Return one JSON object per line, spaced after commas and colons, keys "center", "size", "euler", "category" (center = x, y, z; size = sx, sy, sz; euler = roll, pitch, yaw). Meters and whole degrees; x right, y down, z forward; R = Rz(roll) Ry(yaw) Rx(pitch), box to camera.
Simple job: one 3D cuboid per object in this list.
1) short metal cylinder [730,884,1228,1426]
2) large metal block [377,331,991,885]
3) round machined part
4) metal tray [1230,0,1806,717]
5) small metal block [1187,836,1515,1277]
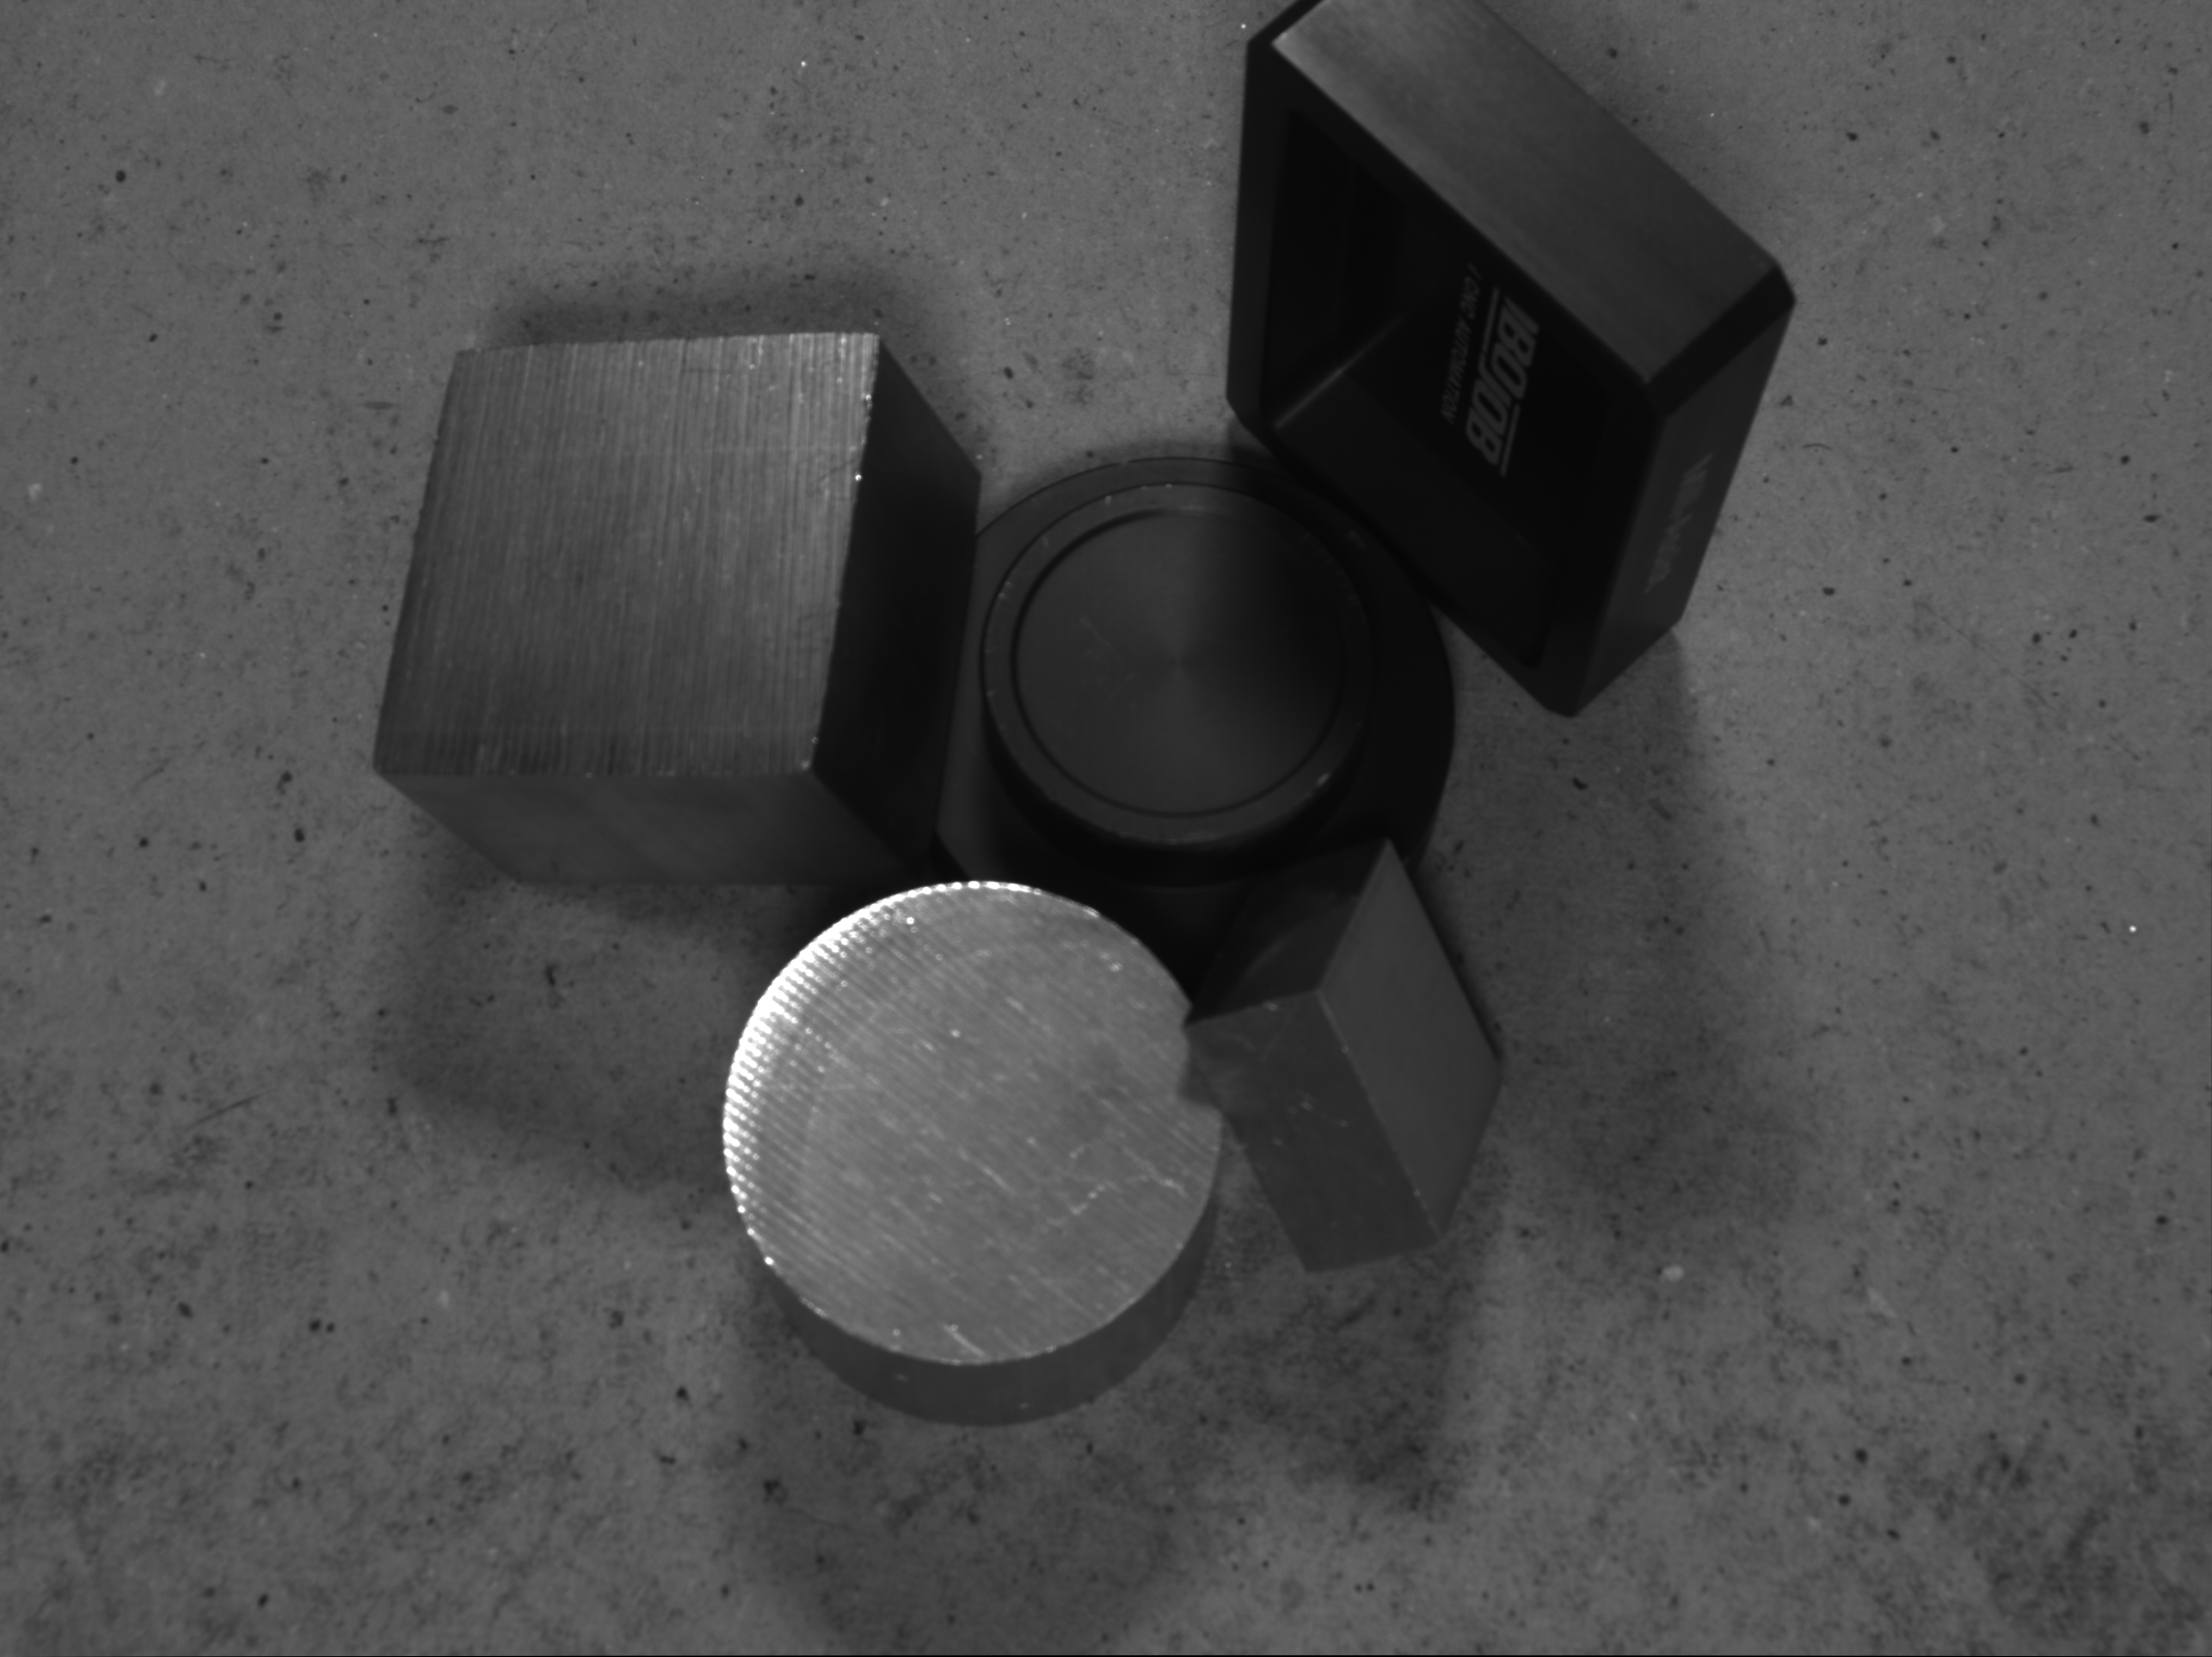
{"center": [-0.020, 0.055, 0.612], "size": [0.080, 0.050, 0.080], "euler": [0, 70, 0], "category": "short metal cylinder"}
{"center": [-0.071, -0.037, 0.632], "size": [0.080, 0.050, 0.080], "euler": [1, 69, 19], "category": "large metal block"}
{"center": [0.014, -0.022, 0.645], "size": [0.098, 0.042, 0.098], "euler": [0, 70, 0], "category": "round machined part"}
{"center": [0.064, -0.080, 0.617], "size": [0.030, 0.130, 0.090], "euler": [-42, 75, -14], "category": "metal tray"}
{"center": [0.042, 0.037, 0.606], "size": [0.025, 0.050, 0.050], "euler": [-17, 112, 27], "category": "small metal block"}
